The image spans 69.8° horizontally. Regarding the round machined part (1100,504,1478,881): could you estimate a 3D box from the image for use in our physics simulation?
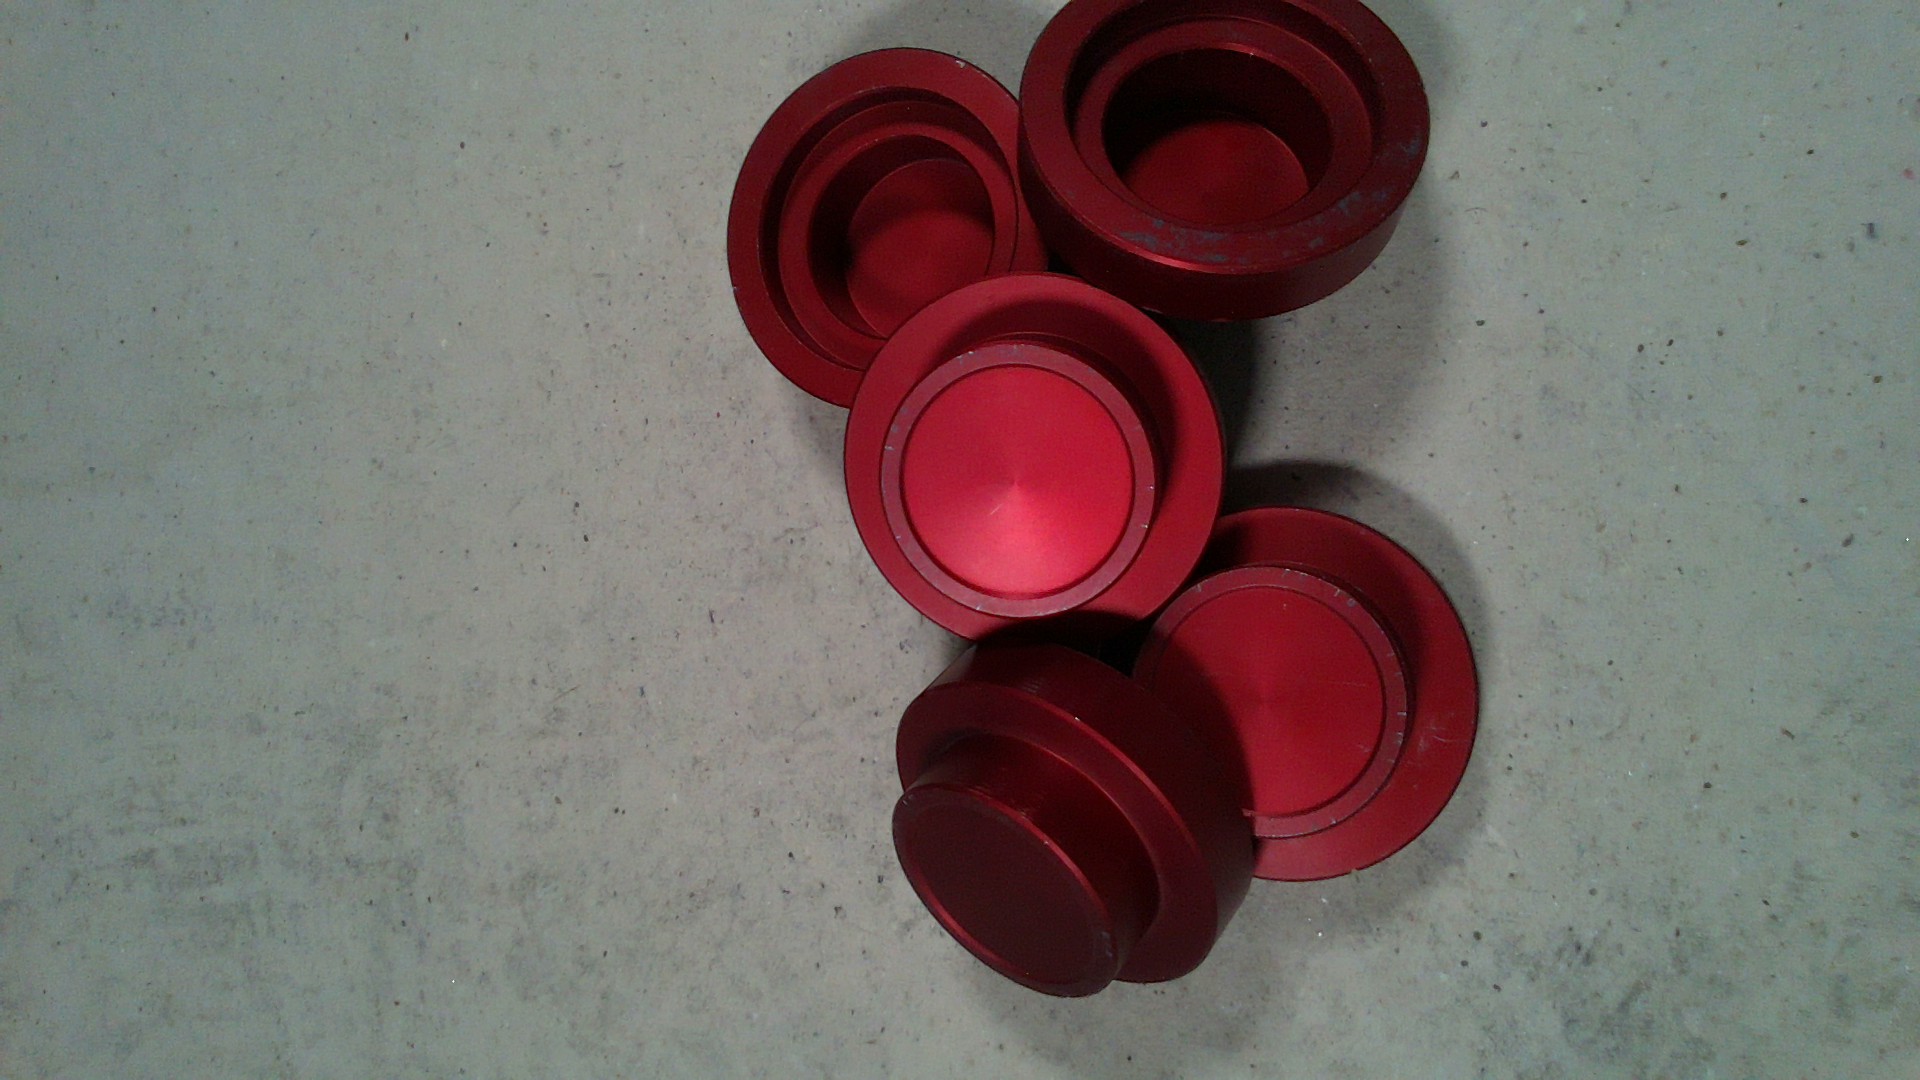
[{"bbox_3d":[0.083,0.040,0.357,0.098,0.042,0.098,0,90,20],"label":"round machined part"}]

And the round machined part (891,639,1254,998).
[{"bbox_3d":[0.021,0.077,0.352,0.098,0.042,0.098,25,136,27],"label":"round machined part"}]

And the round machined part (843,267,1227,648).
[{"bbox_3d":[0.017,-0.019,0.345,0.098,0.042,0.098,2,101,11],"label":"round machined part"}]

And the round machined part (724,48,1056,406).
[{"bbox_3d":[-0.014,-0.084,0.392,0.098,0.042,0.098,0,90,20],"label":"round machined part"}]

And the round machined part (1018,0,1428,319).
[{"bbox_3d":[0.063,-0.097,0.349,0.098,0.042,0.098,0,65,1],"label":"round machined part"}]
